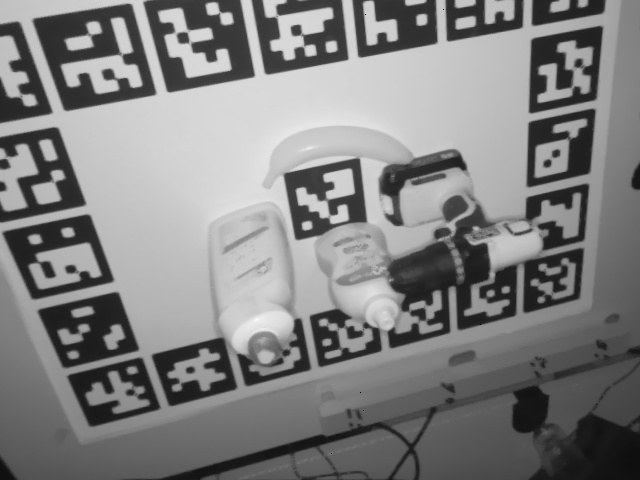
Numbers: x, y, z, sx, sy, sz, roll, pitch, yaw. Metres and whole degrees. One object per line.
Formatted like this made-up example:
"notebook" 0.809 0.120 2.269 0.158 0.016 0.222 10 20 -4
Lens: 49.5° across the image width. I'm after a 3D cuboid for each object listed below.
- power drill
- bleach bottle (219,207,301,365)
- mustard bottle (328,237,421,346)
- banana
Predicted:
"power drill" 0.166 0.001 0.810 0.185 0.188 0.057 -13 126 -2
"bleach bottle" -0.060 0.051 0.782 0.103 0.251 0.067 -19 118 -1
"mustard bottle" 0.071 0.065 0.843 0.096 0.192 0.058 -10 119 -5
"banana" 0.035 -0.092 0.839 0.199 0.039 0.074 -10 114 -10
